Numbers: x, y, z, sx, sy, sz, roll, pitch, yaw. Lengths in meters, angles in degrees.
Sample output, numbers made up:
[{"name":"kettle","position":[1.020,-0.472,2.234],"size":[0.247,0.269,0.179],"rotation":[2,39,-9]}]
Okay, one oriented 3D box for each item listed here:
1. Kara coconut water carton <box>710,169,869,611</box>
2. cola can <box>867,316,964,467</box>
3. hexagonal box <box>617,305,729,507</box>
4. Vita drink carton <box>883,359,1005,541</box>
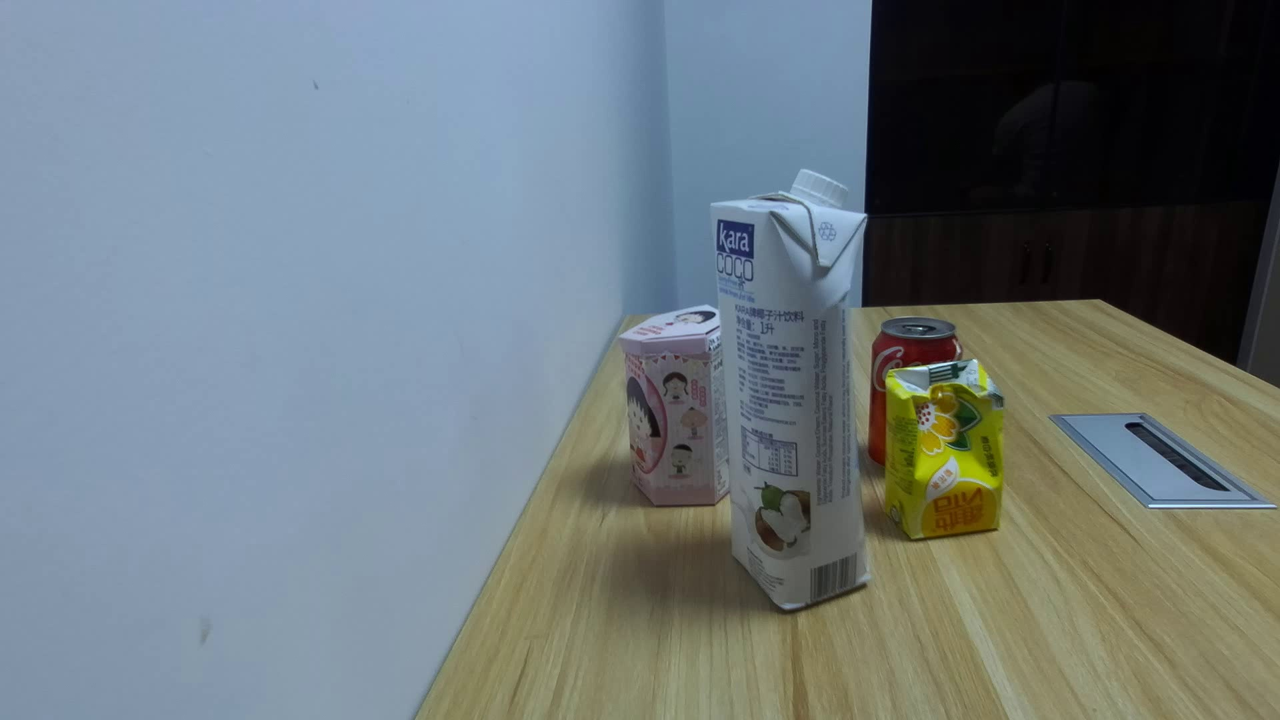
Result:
[{"name":"Kara coconut water carton","position":[0.089,0.017,0.412],"size":[0.071,0.244,0.099],"rotation":[-11,21,-17]},{"name":"cola can","position":[0.216,0.027,0.558],"size":[0.068,0.120,0.068],"rotation":[-2,16,1]},{"name":"hexagonal box","position":[0.035,0.034,0.544],"size":[0.085,0.135,0.091],"rotation":[-11,21,-20]},{"name":"Vita drink carton","position":[0.205,0.060,0.474],"size":[0.071,0.110,0.046],"rotation":[-6,17,-6]}]
